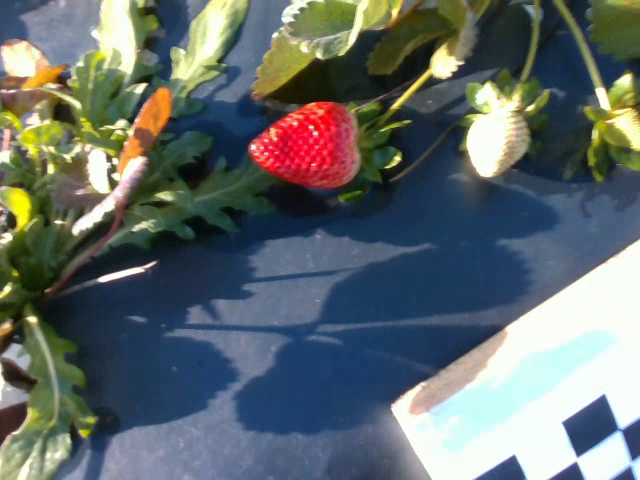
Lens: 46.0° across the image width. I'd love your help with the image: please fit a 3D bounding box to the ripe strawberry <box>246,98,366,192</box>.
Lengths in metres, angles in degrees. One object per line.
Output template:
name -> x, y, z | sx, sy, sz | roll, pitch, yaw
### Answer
ripe strawberry -> -0.007, -0.037, 0.283 | 0.053, 0.044, 0.036 | -6, 12, -16
